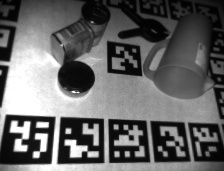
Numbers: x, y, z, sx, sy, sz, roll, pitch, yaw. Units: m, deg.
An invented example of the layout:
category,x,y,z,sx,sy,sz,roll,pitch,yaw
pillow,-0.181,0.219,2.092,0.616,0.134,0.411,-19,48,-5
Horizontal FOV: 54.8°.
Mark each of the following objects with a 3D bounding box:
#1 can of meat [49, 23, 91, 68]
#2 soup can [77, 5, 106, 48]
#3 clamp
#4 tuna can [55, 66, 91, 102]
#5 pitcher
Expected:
category,x,y,z,sx,sy,sz,roll,pitch,yaw
can of meat,-0.104,-0.093,0.528,0.084,0.101,0.057,-32,82,-21
soup can,-0.059,-0.151,0.569,0.068,0.102,0.067,5,70,-12
clamp,0.082,-0.174,0.669,0.166,0.036,0.121,9,63,-18
tuna can,-0.097,-0.003,0.537,0.086,0.033,0.085,6,70,-15
pitcher,0.205,-0.081,0.605,0.187,0.134,0.243,16,56,14
